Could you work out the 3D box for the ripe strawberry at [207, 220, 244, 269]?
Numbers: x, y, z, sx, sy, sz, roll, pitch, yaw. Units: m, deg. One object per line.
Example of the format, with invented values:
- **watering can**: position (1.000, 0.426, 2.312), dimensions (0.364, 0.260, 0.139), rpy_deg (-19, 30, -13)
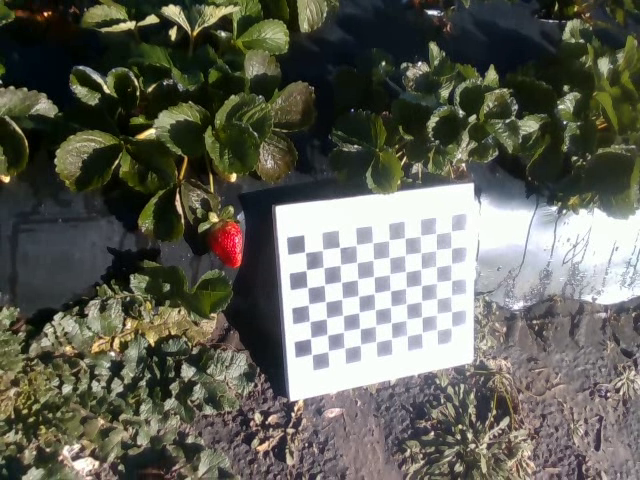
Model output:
- **ripe strawberry**: position (-0.115, 0.007, 0.757), dimensions (0.048, 0.069, 0.040), rpy_deg (-26, 12, -12)
